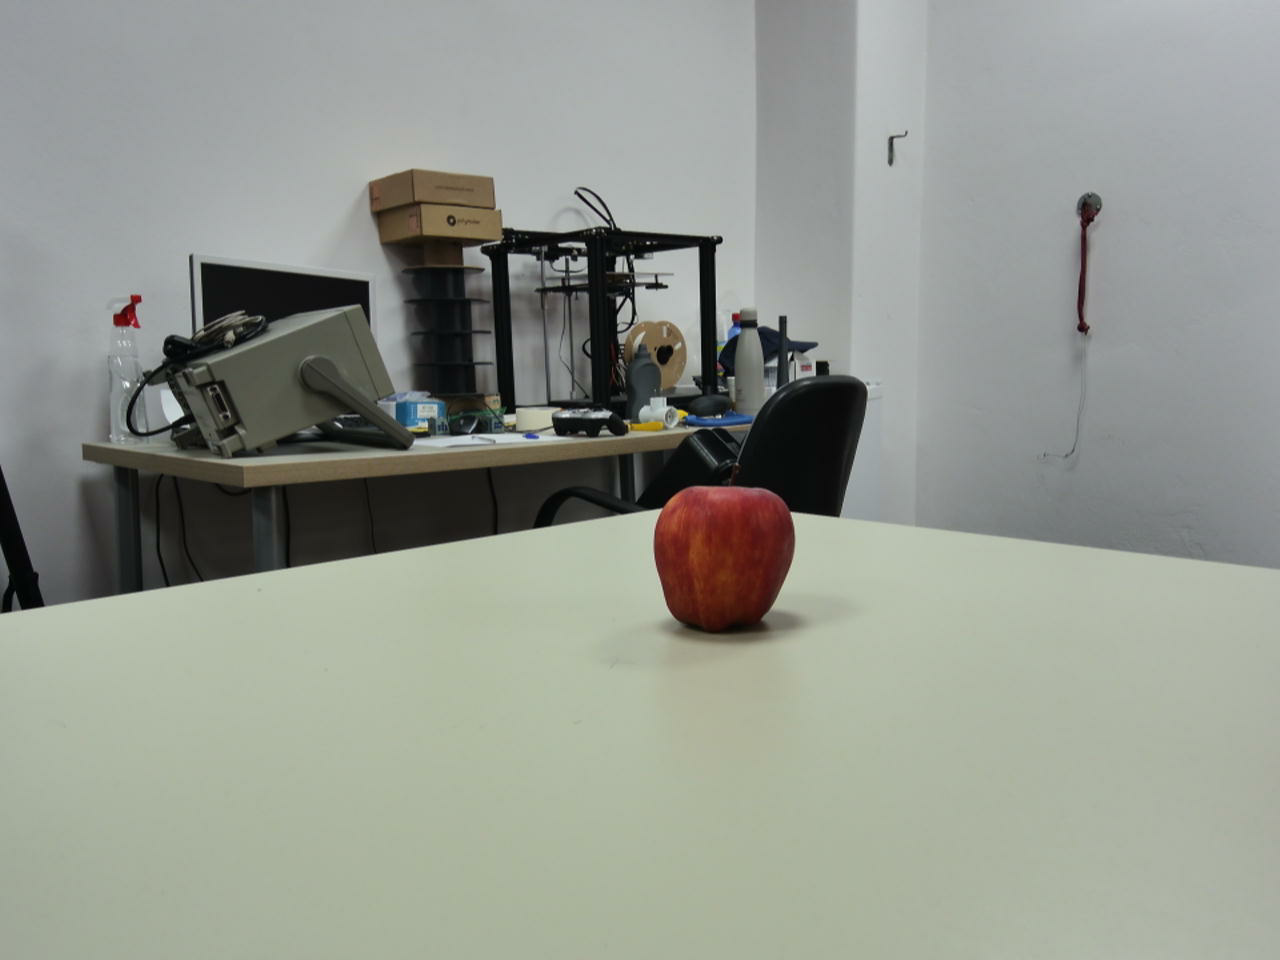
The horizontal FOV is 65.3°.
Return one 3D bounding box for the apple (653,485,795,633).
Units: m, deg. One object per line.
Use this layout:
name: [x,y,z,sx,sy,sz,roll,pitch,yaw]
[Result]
apple: [0.049,0.035,0.567,0.083,0.090,0.083,1,5,0]
